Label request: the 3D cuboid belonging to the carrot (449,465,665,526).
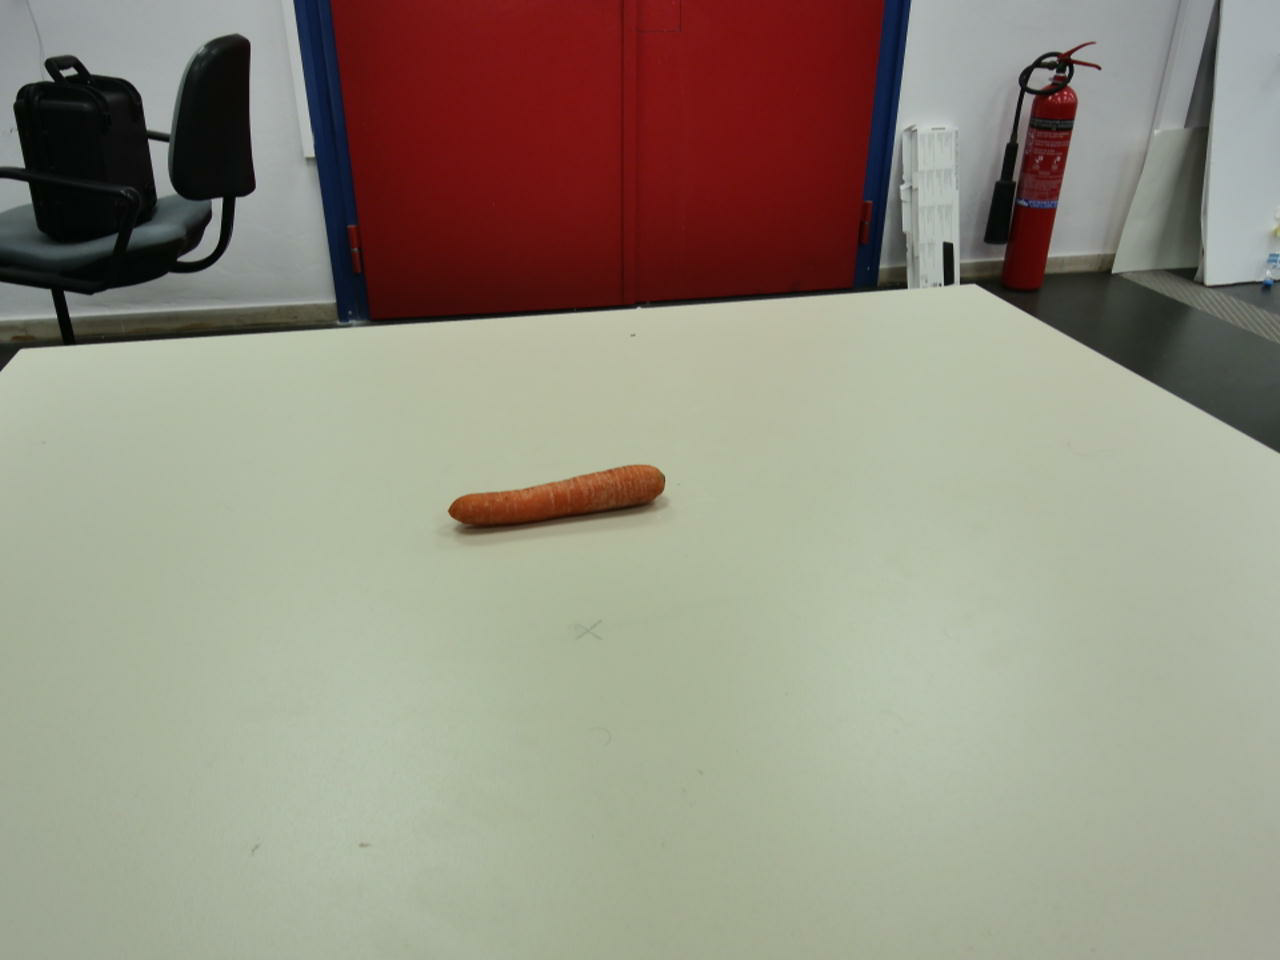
[{"bbox_3d":[-0.044,0.009,0.558,0.122,0.023,0.024,-7,27,-14],"label":"carrot"}]
